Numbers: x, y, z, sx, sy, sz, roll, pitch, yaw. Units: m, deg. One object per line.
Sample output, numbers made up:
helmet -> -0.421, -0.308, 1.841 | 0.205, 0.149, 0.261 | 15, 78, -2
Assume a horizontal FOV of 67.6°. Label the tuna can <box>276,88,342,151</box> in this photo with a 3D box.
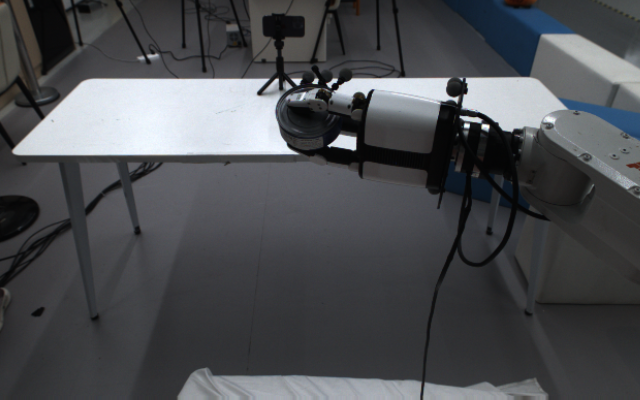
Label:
tuna can -> -0.013, -0.108, 0.630 | 0.085, 0.034, 0.085 | -2, 60, 3
